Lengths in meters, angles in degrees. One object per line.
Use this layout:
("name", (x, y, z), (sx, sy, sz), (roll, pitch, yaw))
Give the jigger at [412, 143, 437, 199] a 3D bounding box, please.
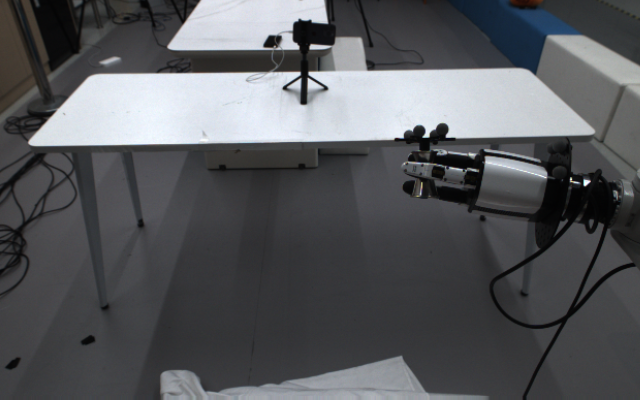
("jigger", (0.155, -0.040, 0.721), (0.043, 0.071, 0.043), (-1, 2, 0))
